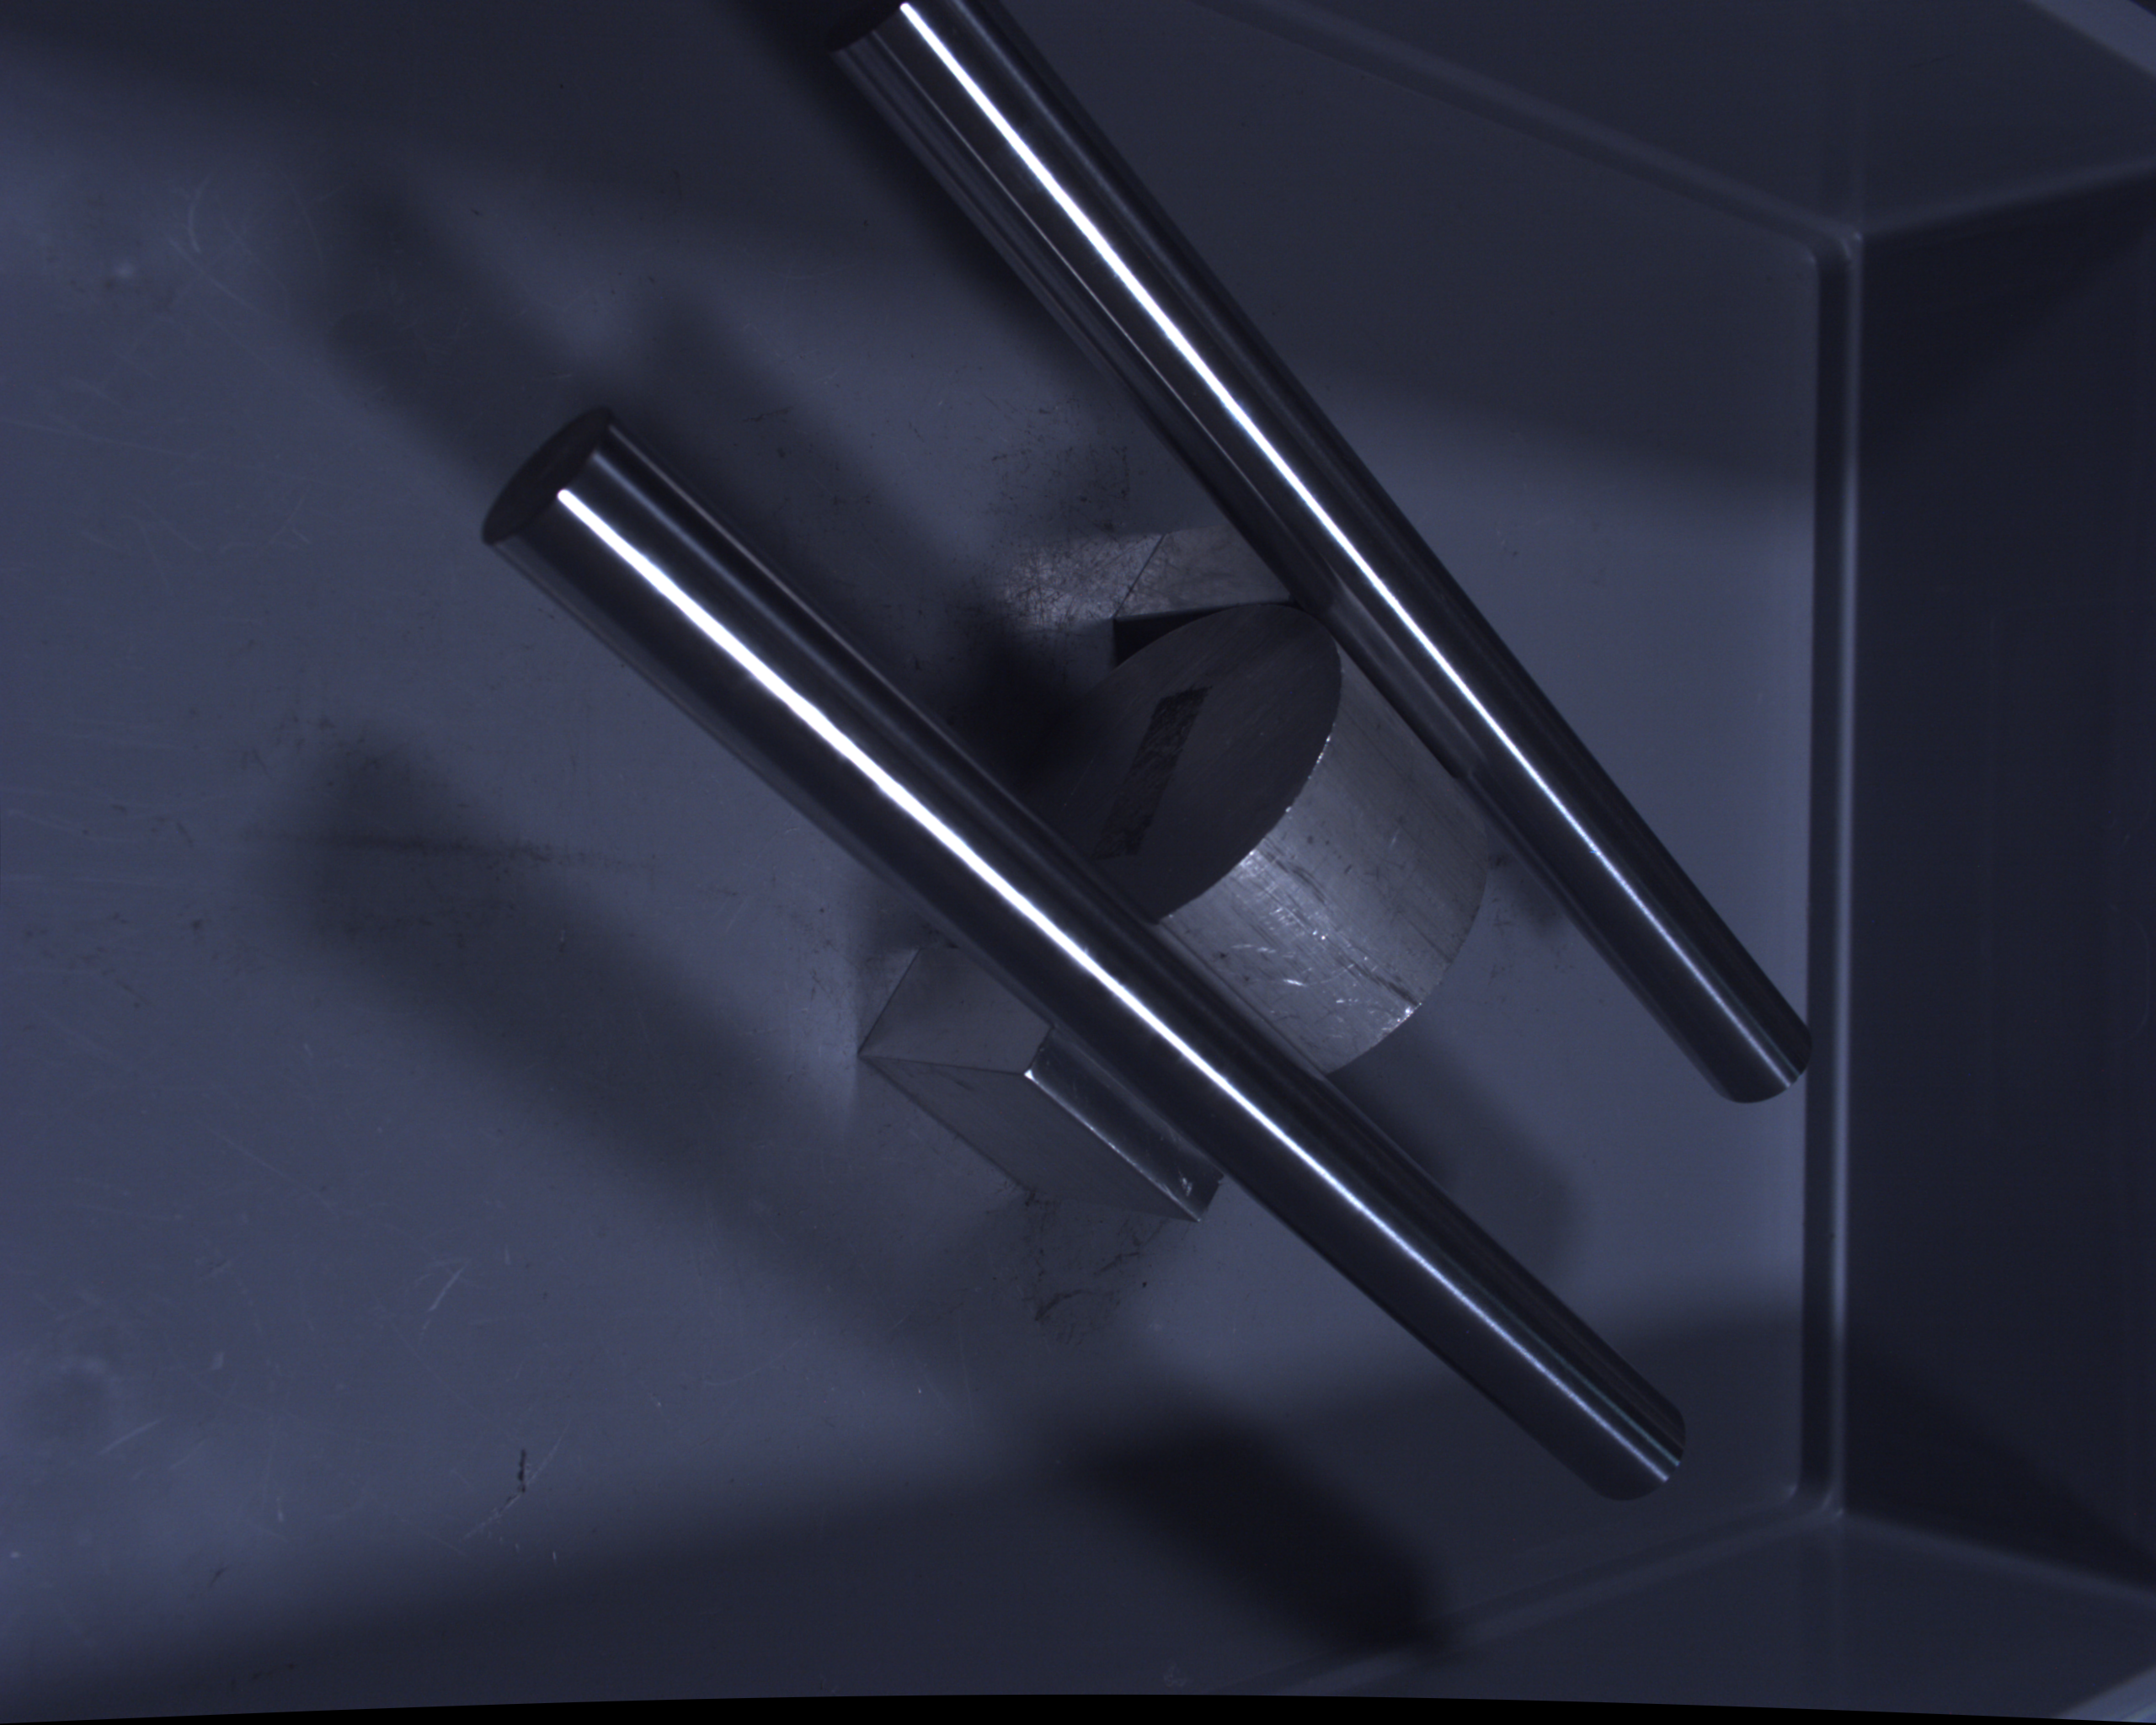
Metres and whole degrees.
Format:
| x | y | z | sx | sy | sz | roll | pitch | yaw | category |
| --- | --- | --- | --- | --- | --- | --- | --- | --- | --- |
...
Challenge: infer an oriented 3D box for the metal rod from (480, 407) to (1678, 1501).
| x | y | z | sx | sy | sz | roll | pitch | yaw | category |
| --- | --- | --- | --- | --- | --- | --- | --- | --- | --- |
| 0.021 | 0.035 | 0.361 | 0.300 | 0.025 | 0.025 | 43 | 64 | -31 | metal rod |

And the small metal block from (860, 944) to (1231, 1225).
| x | y | z | sx | sy | sz | roll | pitch | yaw | category |
| --- | --- | --- | --- | --- | --- | --- | --- | --- | --- |
| -0.003 | 0.041 | 0.387 | 0.050 | 0.050 | 0.025 | 44 | 63 | -32 | small metal block |

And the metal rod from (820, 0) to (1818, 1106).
| x | y | z | sx | sy | sz | roll | pitch | yaw | category |
| --- | --- | --- | --- | --- | --- | --- | --- | --- | --- |
| 0.063 | -0.043 | 0.395 | 0.300 | 0.025 | 0.025 | 43 | 64 | -32 | metal rod |

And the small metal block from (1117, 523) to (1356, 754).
| x | y | z | sx | sy | sz | roll | pitch | yaw | category |
| --- | --- | --- | --- | --- | --- | --- | --- | --- | --- |
| 0.045 | -0.045 | 0.428 | 0.050 | 0.050 | 0.025 | 44 | 63 | -32 | small metal block |

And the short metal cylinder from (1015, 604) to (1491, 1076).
| x | y | z | sx | sy | sz | roll | pitch | yaw | category |
| --- | --- | --- | --- | --- | --- | --- | --- | --- | --- |
| 0.030 | -0.003 | 0.396 | 0.050 | 0.080 | 0.080 | 44 | 63 | -32 | short metal cylinder |
